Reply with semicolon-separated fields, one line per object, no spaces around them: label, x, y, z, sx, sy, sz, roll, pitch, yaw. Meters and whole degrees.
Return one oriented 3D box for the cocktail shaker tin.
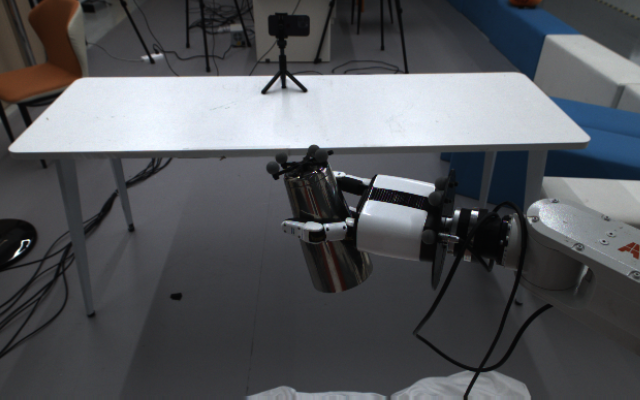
cocktail shaker tin;0.008;0.034;0.679;0.093;0.170;0.093;-17;20;7
